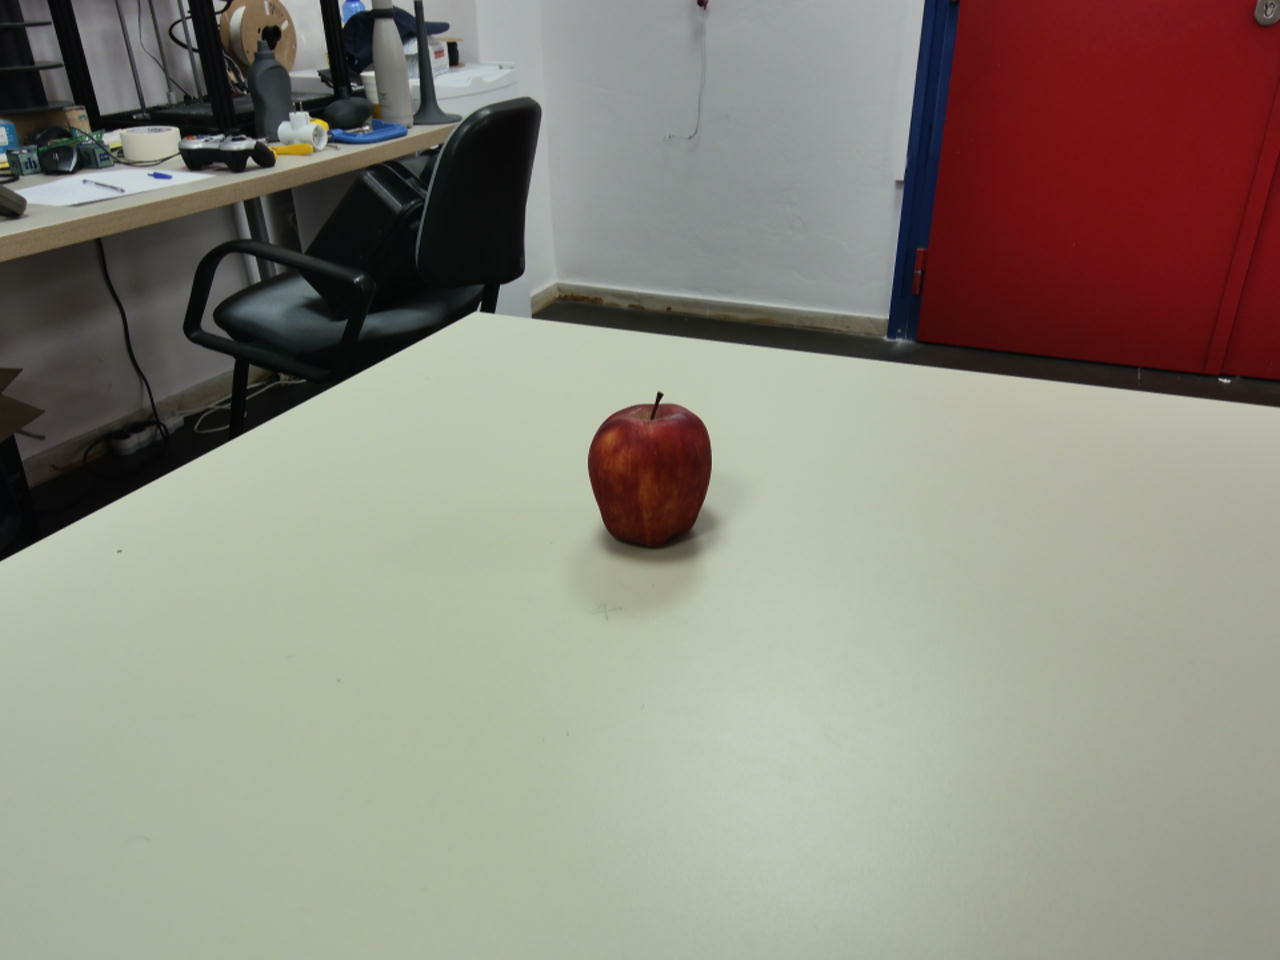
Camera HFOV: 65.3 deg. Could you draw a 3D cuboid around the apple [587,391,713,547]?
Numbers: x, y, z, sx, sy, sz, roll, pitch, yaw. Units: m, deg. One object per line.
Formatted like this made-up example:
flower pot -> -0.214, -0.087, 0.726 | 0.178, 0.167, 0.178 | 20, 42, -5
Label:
apple -> 0.006, -0.011, 0.605 | 0.083, 0.090, 0.083 | -1, 26, 0
